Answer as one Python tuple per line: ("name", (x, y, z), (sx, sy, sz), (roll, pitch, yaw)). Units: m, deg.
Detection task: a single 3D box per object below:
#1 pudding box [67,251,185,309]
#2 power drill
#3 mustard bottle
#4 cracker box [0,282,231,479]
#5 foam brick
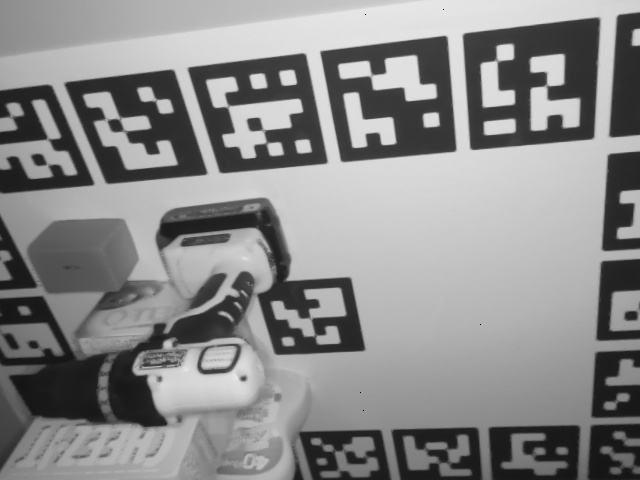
("pudding box", (-0.170, 0.053, 0.657), (0.113, 0.091, 0.038), (-5, 122, 7))
("power drill", (-0.129, 0.032, 0.557), (0.183, 0.189, 0.057), (-5, 124, 12))
("mustard bottle", (-0.074, 0.199, 0.677), (0.096, 0.193, 0.058), (7, 121, 4))
("cracker box", (-0.176, 0.123, 0.636), (0.163, 0.215, 0.071), (-7, 122, 9))
("foam brick", (-0.233, -0.014, 0.663), (0.078, 0.052, 0.052), (-3, 119, 9))
